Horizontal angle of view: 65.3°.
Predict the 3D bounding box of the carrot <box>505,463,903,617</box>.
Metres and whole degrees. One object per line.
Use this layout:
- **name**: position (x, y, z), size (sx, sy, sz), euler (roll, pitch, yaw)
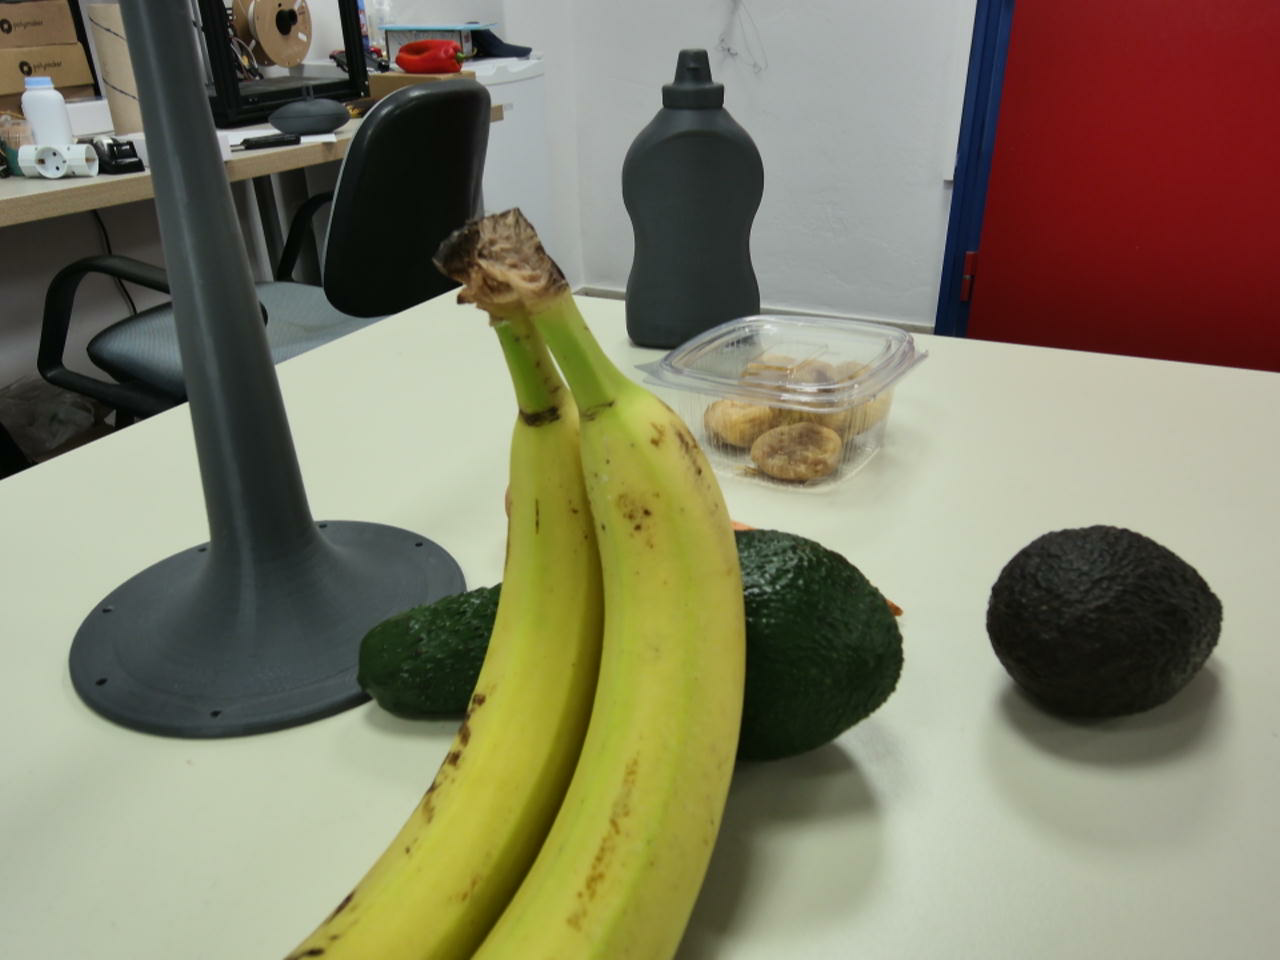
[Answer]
- **carrot**: position (0.024, 0.026, 0.462), size (0.196, 0.041, 0.039), euler (11, 26, 23)
